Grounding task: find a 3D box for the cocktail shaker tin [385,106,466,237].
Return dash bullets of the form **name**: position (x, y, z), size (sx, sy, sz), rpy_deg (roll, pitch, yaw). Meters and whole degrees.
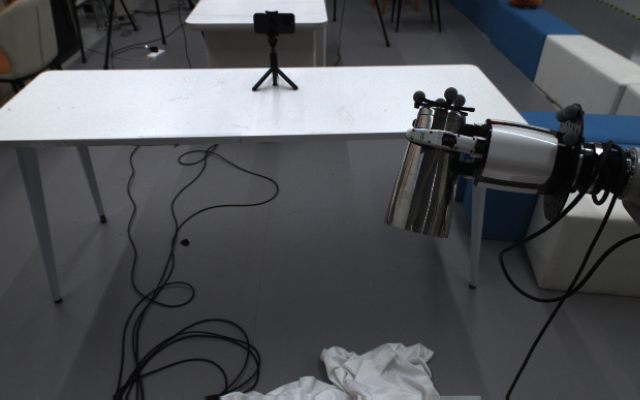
- **cocktail shaker tin**: position (0.155, -0.043, 0.687), size (0.093, 0.170, 0.093), rpy_deg (13, 3, -1)
